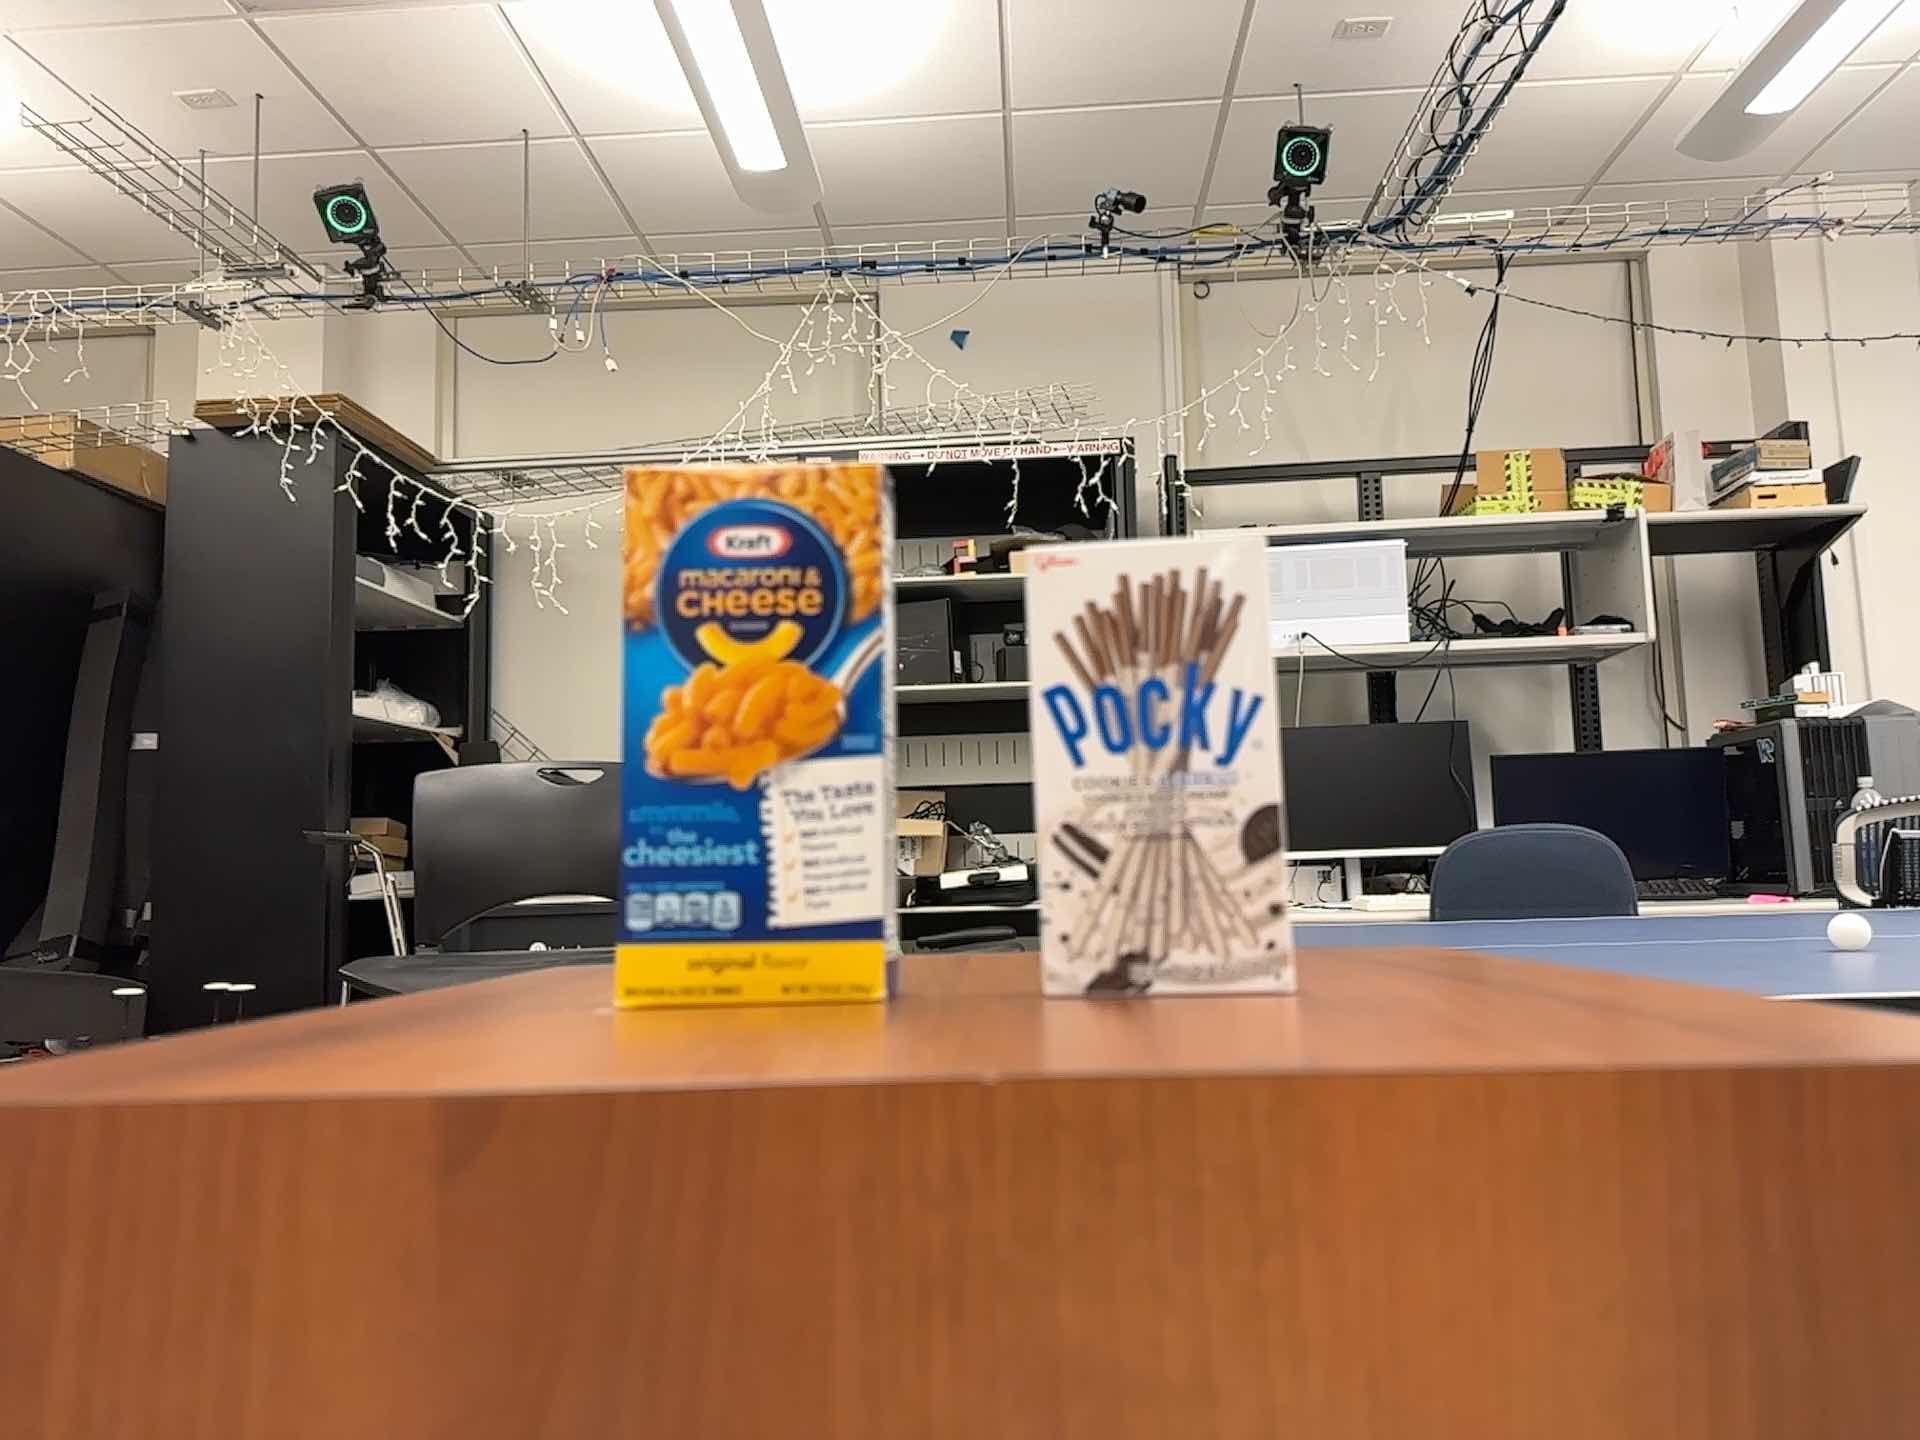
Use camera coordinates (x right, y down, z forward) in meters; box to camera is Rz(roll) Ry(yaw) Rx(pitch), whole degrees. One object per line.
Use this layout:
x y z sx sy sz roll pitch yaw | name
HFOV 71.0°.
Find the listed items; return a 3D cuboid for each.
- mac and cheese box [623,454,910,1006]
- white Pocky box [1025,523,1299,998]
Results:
-0.066 0.003 0.466 0.088 0.181 0.035 -3 -8 6 | mac and cheese box
0.066 0.014 0.449 0.084 0.154 0.028 -3 -7 9 | white Pocky box
